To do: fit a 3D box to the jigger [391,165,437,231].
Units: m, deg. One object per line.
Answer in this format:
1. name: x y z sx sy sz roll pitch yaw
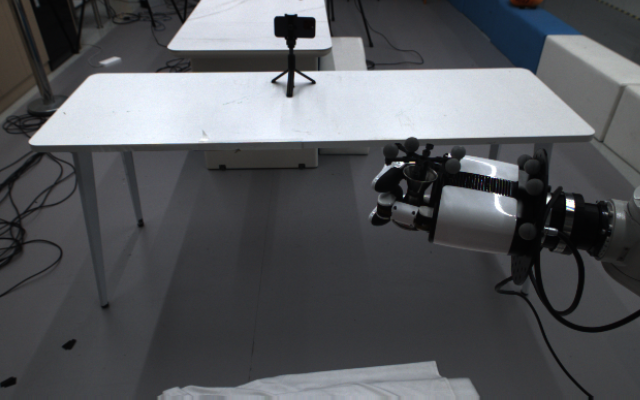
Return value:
1. jigger: 0.117 -0.004 0.587 0.043 0.071 0.043 4 31 -2
